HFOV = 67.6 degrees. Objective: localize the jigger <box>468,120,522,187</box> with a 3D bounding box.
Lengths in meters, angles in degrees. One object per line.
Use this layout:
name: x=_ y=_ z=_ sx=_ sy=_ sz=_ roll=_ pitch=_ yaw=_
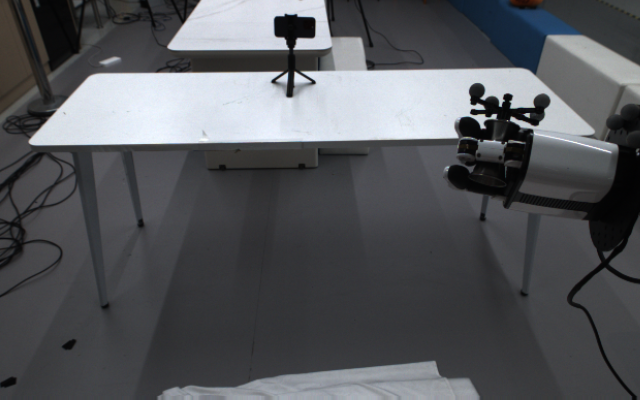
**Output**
jigger: x=0.202 y=-0.053 z=0.556 sx=0.043 sy=0.071 sz=0.043 roll=16 pitch=-7 yaw=2
